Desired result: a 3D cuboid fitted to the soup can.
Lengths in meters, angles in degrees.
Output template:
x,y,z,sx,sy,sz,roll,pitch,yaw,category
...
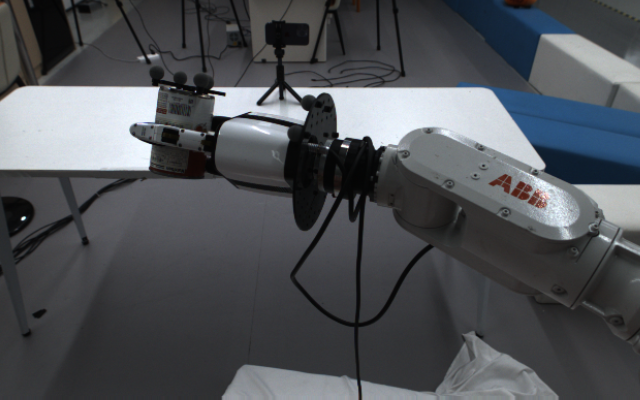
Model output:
x,y,z,sx,sy,sz,roll,pitch,yaw,category
-0.168,-0.080,0.592,0.067,0.101,0.067,10,9,-2,soup can
